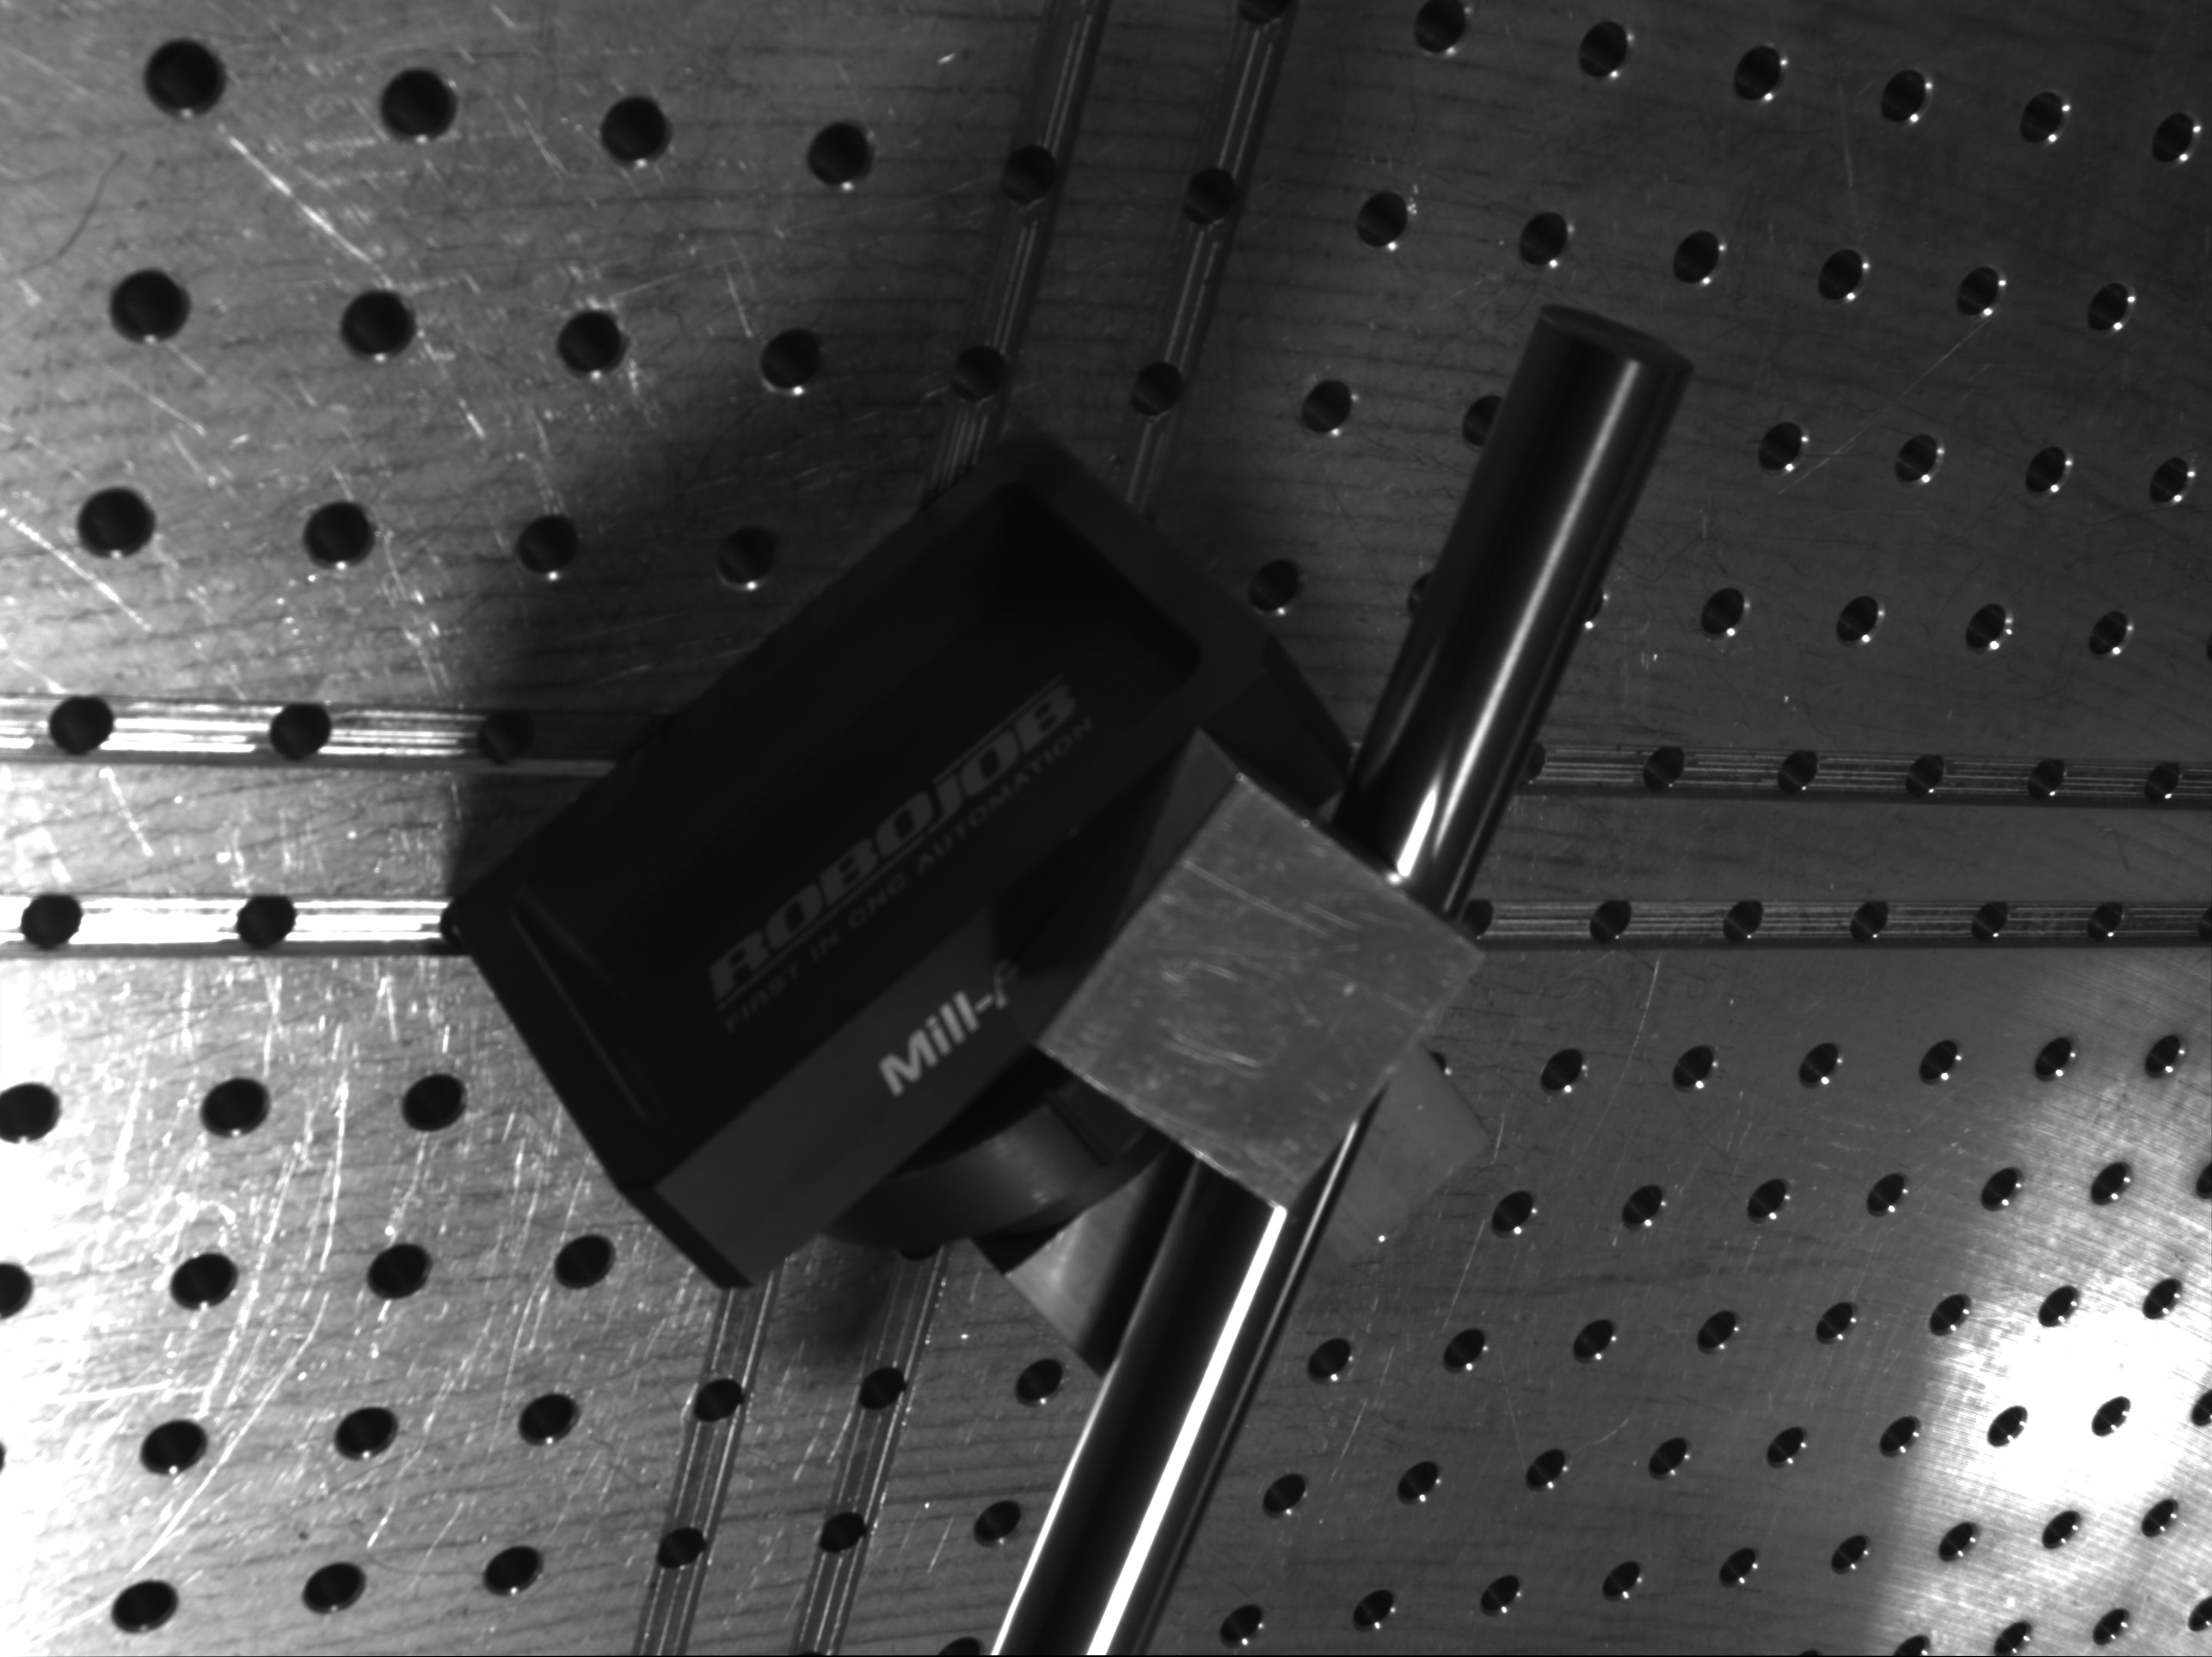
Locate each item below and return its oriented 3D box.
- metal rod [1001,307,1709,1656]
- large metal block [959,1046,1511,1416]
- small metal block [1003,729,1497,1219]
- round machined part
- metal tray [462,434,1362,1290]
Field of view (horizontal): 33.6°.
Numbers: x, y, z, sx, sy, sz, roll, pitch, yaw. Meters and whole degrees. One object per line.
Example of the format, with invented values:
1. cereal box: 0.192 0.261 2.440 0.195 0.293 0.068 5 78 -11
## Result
1. metal rod: 0.028 0.058 0.601 0.025 0.025 0.300 7 114 -33
2. large metal block: 0.011 0.049 0.651 0.080 0.080 0.050 -40 130 -3
3. small metal block: 0.021 0.022 0.552 0.050 0.025 0.050 35 96 -21
4. round machined part: -0.020 0.025 0.615 0.098 0.098 0.042 -41 130 -2
5. metal tray: -0.034 0.003 0.593 0.130 0.090 0.030 -40 130 -3
